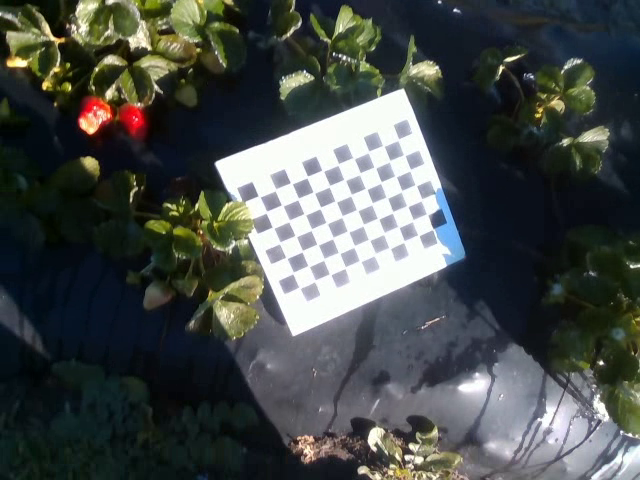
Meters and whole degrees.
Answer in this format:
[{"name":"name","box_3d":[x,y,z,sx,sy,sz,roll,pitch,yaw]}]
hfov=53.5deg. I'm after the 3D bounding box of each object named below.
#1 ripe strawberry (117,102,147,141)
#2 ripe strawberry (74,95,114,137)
[{"name":"ripe strawberry","box_3d":[-0.282,-0.180,0.938,0.043,0.059,0.040,-25,4,-11]},{"name":"ripe strawberry","box_3d":[-0.336,-0.181,0.935,0.052,0.069,0.040,23,-9,-21]}]
